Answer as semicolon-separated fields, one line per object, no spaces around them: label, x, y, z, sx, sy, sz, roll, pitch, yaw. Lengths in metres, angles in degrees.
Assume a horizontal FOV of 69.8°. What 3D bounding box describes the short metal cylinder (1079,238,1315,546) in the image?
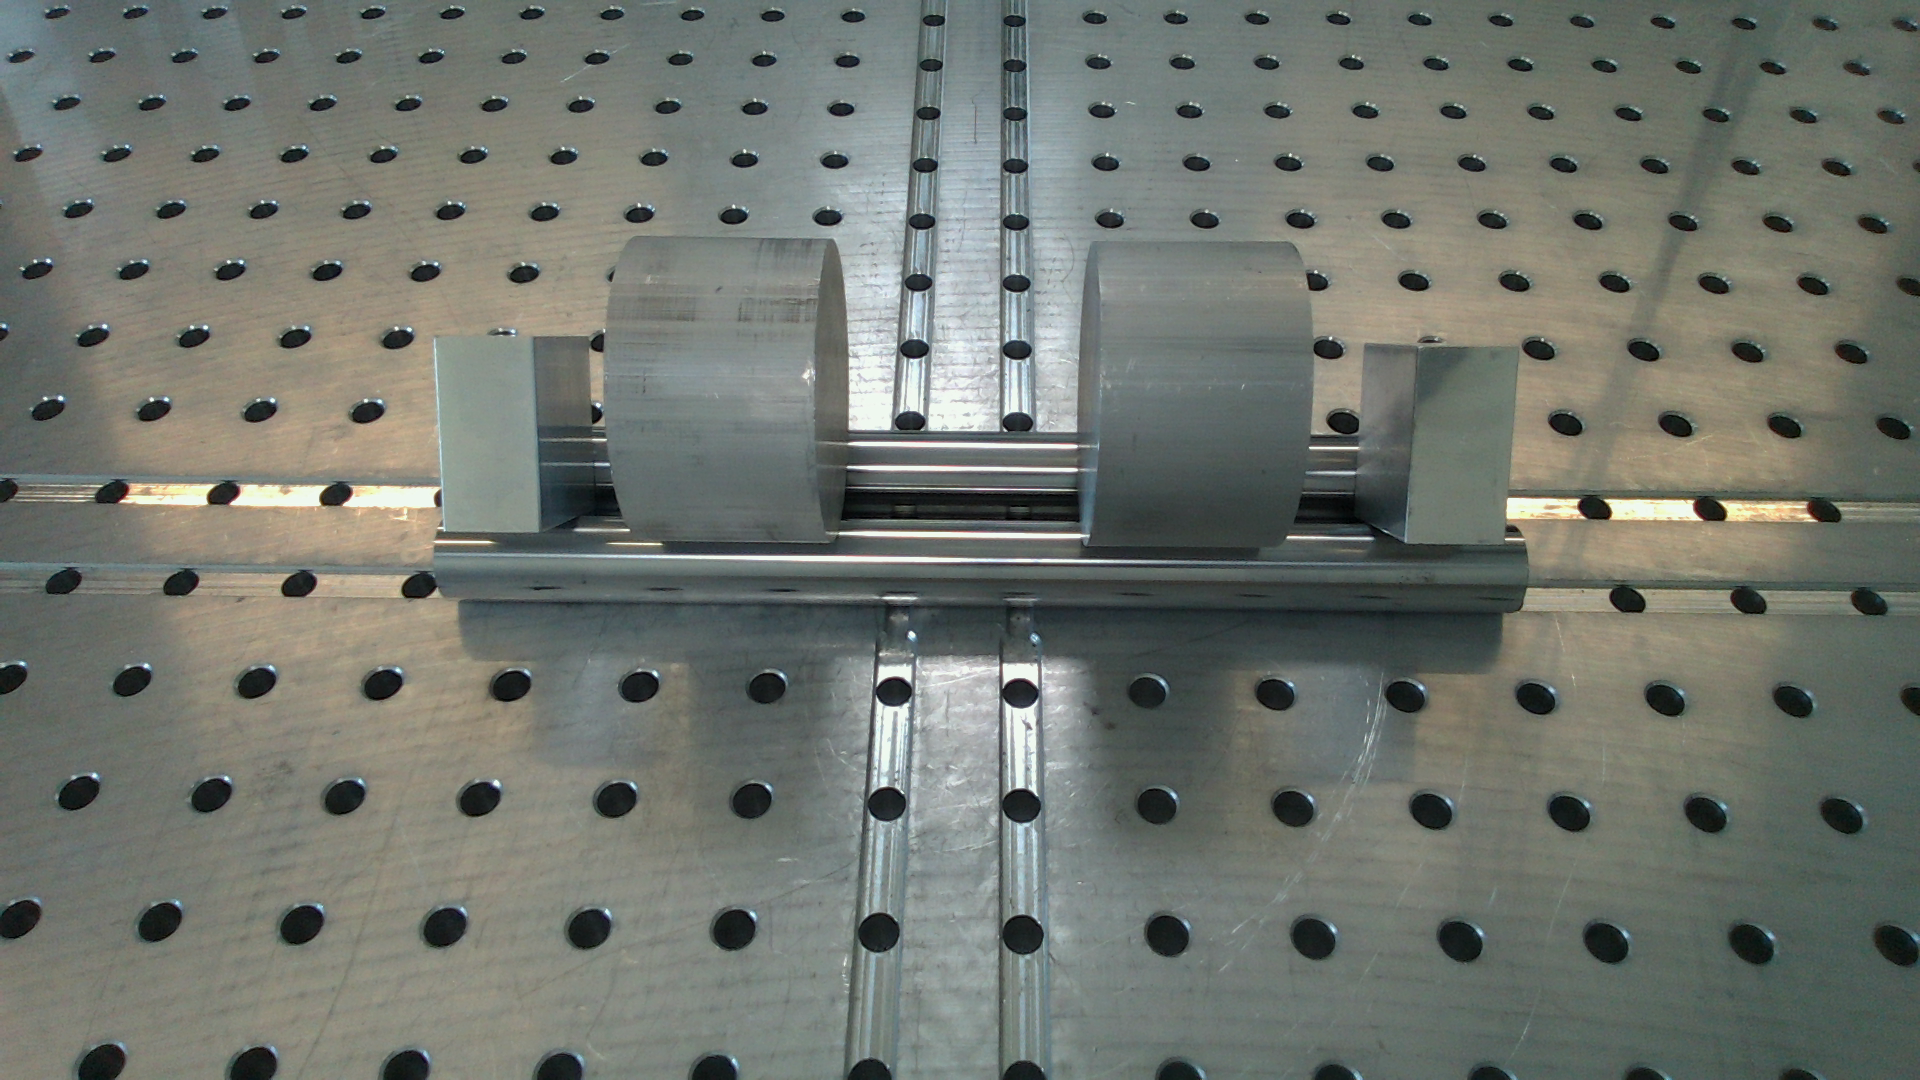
short metal cylinder;0.059;-0.039;0.363;0.050;0.080;0.080;1;50;1

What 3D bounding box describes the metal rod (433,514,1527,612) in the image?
metal rod;0.005;0.006;0.389;0.300;0.025;0.025;1;50;0

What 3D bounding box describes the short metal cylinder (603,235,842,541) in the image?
short metal cylinder;-0.059;-0.040;0.364;0.050;0.080;0.080;1;50;1

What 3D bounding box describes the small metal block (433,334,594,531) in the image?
small metal block;-0.120;-0.030;0.374;0.025;0.050;0.050;0;8;1

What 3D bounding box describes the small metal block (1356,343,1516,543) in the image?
small metal block;0.127;-0.028;0.372;0.025;0.050;0.050;0;9;1

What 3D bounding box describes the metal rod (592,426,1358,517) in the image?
metal rod;0.008;-0.021;0.412;0.300;0.025;0.025;1;50;0
